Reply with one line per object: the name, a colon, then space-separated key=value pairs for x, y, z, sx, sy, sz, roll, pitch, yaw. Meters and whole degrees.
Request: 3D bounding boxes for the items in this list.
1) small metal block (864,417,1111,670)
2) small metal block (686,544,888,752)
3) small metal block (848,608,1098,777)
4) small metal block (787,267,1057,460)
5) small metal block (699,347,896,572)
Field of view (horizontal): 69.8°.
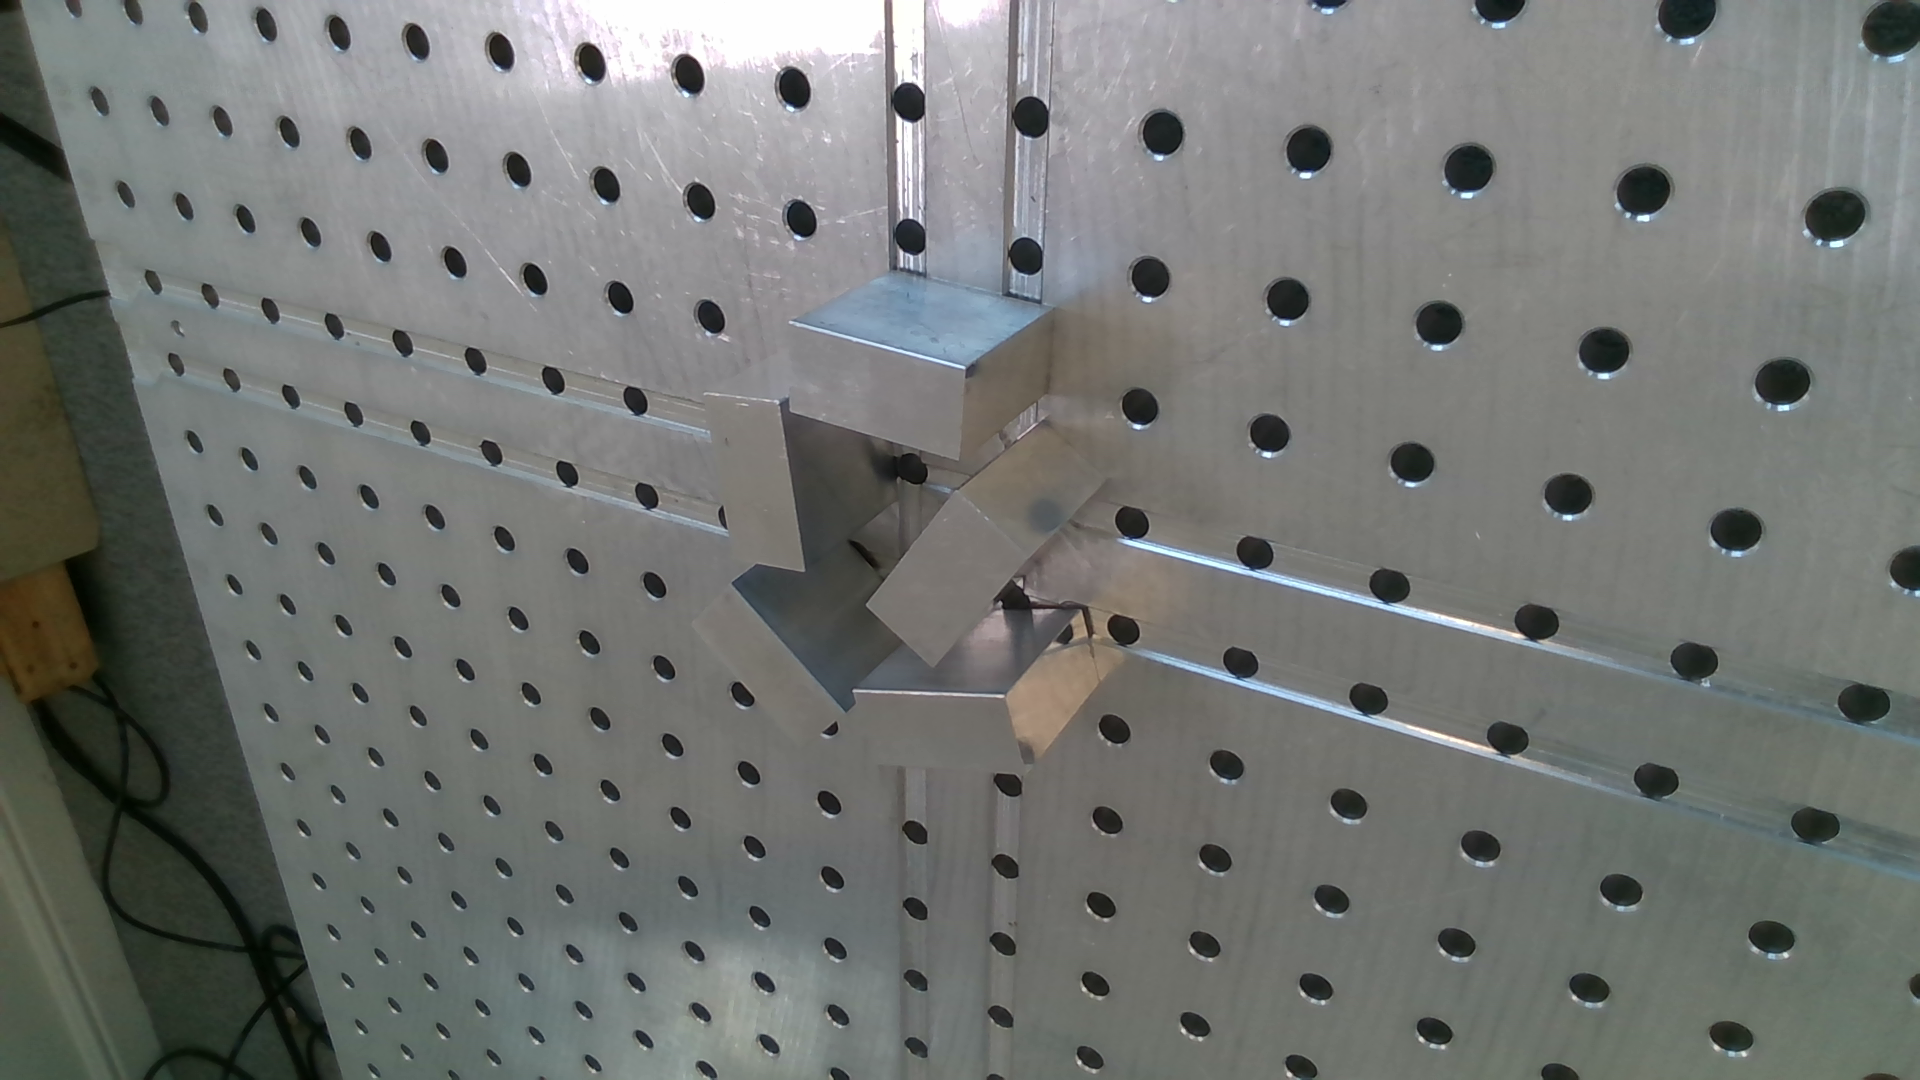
small metal block: x=0.008 y=0.001 z=0.371 sx=0.025 sy=0.050 sz=0.050 roll=43 pitch=130 yaw=5
small metal block: x=-0.045 y=0.027 z=0.417 sx=0.050 sy=0.050 sz=0.025 roll=49 pitch=128 yaw=-1
small metal block: x=0.005 y=0.042 z=0.395 sx=0.050 sy=0.050 sz=0.025 roll=-2 pitch=114 yaw=32
small metal block: x=-0.009 y=-0.047 z=0.355 sx=0.050 sy=0.050 sz=0.025 roll=18 pitch=123 yaw=23
small metal block: x=-0.044 y=-0.026 z=0.388 sx=0.025 sy=0.050 sz=0.050 roll=9 pitch=120 yaw=27
